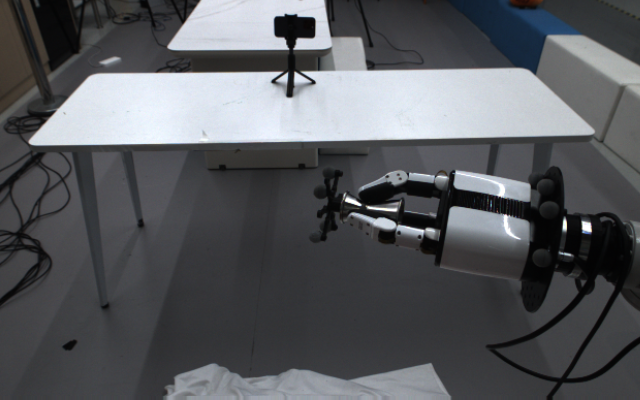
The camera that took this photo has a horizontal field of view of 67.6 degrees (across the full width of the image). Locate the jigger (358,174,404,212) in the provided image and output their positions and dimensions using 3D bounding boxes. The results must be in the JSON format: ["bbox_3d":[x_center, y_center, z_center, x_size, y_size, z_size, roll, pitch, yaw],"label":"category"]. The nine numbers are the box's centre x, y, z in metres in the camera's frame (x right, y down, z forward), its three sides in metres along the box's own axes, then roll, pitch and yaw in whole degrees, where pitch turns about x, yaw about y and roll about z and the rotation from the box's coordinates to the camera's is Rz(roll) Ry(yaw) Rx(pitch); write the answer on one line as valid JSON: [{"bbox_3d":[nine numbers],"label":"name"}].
[{"bbox_3d":[0.067,0.011,0.568,0.071,0.043,0.043,9,35,17],"label":"jigger"}]
